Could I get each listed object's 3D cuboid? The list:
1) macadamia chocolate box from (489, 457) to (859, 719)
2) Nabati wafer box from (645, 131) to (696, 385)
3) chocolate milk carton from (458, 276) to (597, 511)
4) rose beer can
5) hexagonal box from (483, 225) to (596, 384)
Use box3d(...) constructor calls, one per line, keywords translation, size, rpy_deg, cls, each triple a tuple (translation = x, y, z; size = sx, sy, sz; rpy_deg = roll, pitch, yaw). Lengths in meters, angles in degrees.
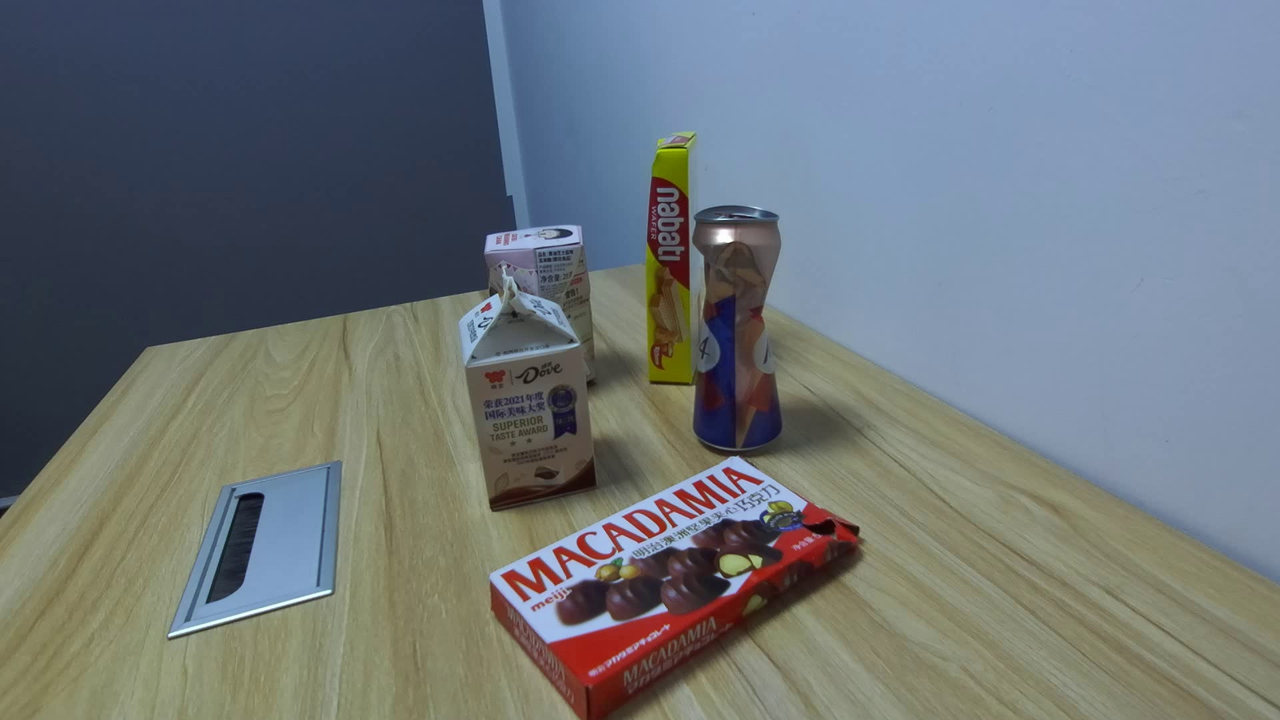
box3d(translation=(0.025, 0.109, 0.379), size=(0.187, 0.027, 0.102), rpy_deg=(-20, 30, -33), cls="macadamia chocolate box")
box3d(translation=(0.028, -0.086, 0.606), size=(0.042, 0.203, 0.096), rpy_deg=(2, 25, 10), cls="Nabati wafer box")
box3d(translation=(-0.076, 0.012, 0.464), size=(0.074, 0.148, 0.075), rpy_deg=(-11, 25, -12), cls="chocolate milk carton")
box3d(translation=(0.068, -0.019, 0.488), size=(0.065, 0.167, 0.076), rpy_deg=(3, 22, 14), cls="rose beer can")
box3d(translation=(-0.085, -0.044, 0.619), size=(0.093, 0.135, 0.088), rpy_deg=(-23, 30, -36), cls="hexagonal box")
